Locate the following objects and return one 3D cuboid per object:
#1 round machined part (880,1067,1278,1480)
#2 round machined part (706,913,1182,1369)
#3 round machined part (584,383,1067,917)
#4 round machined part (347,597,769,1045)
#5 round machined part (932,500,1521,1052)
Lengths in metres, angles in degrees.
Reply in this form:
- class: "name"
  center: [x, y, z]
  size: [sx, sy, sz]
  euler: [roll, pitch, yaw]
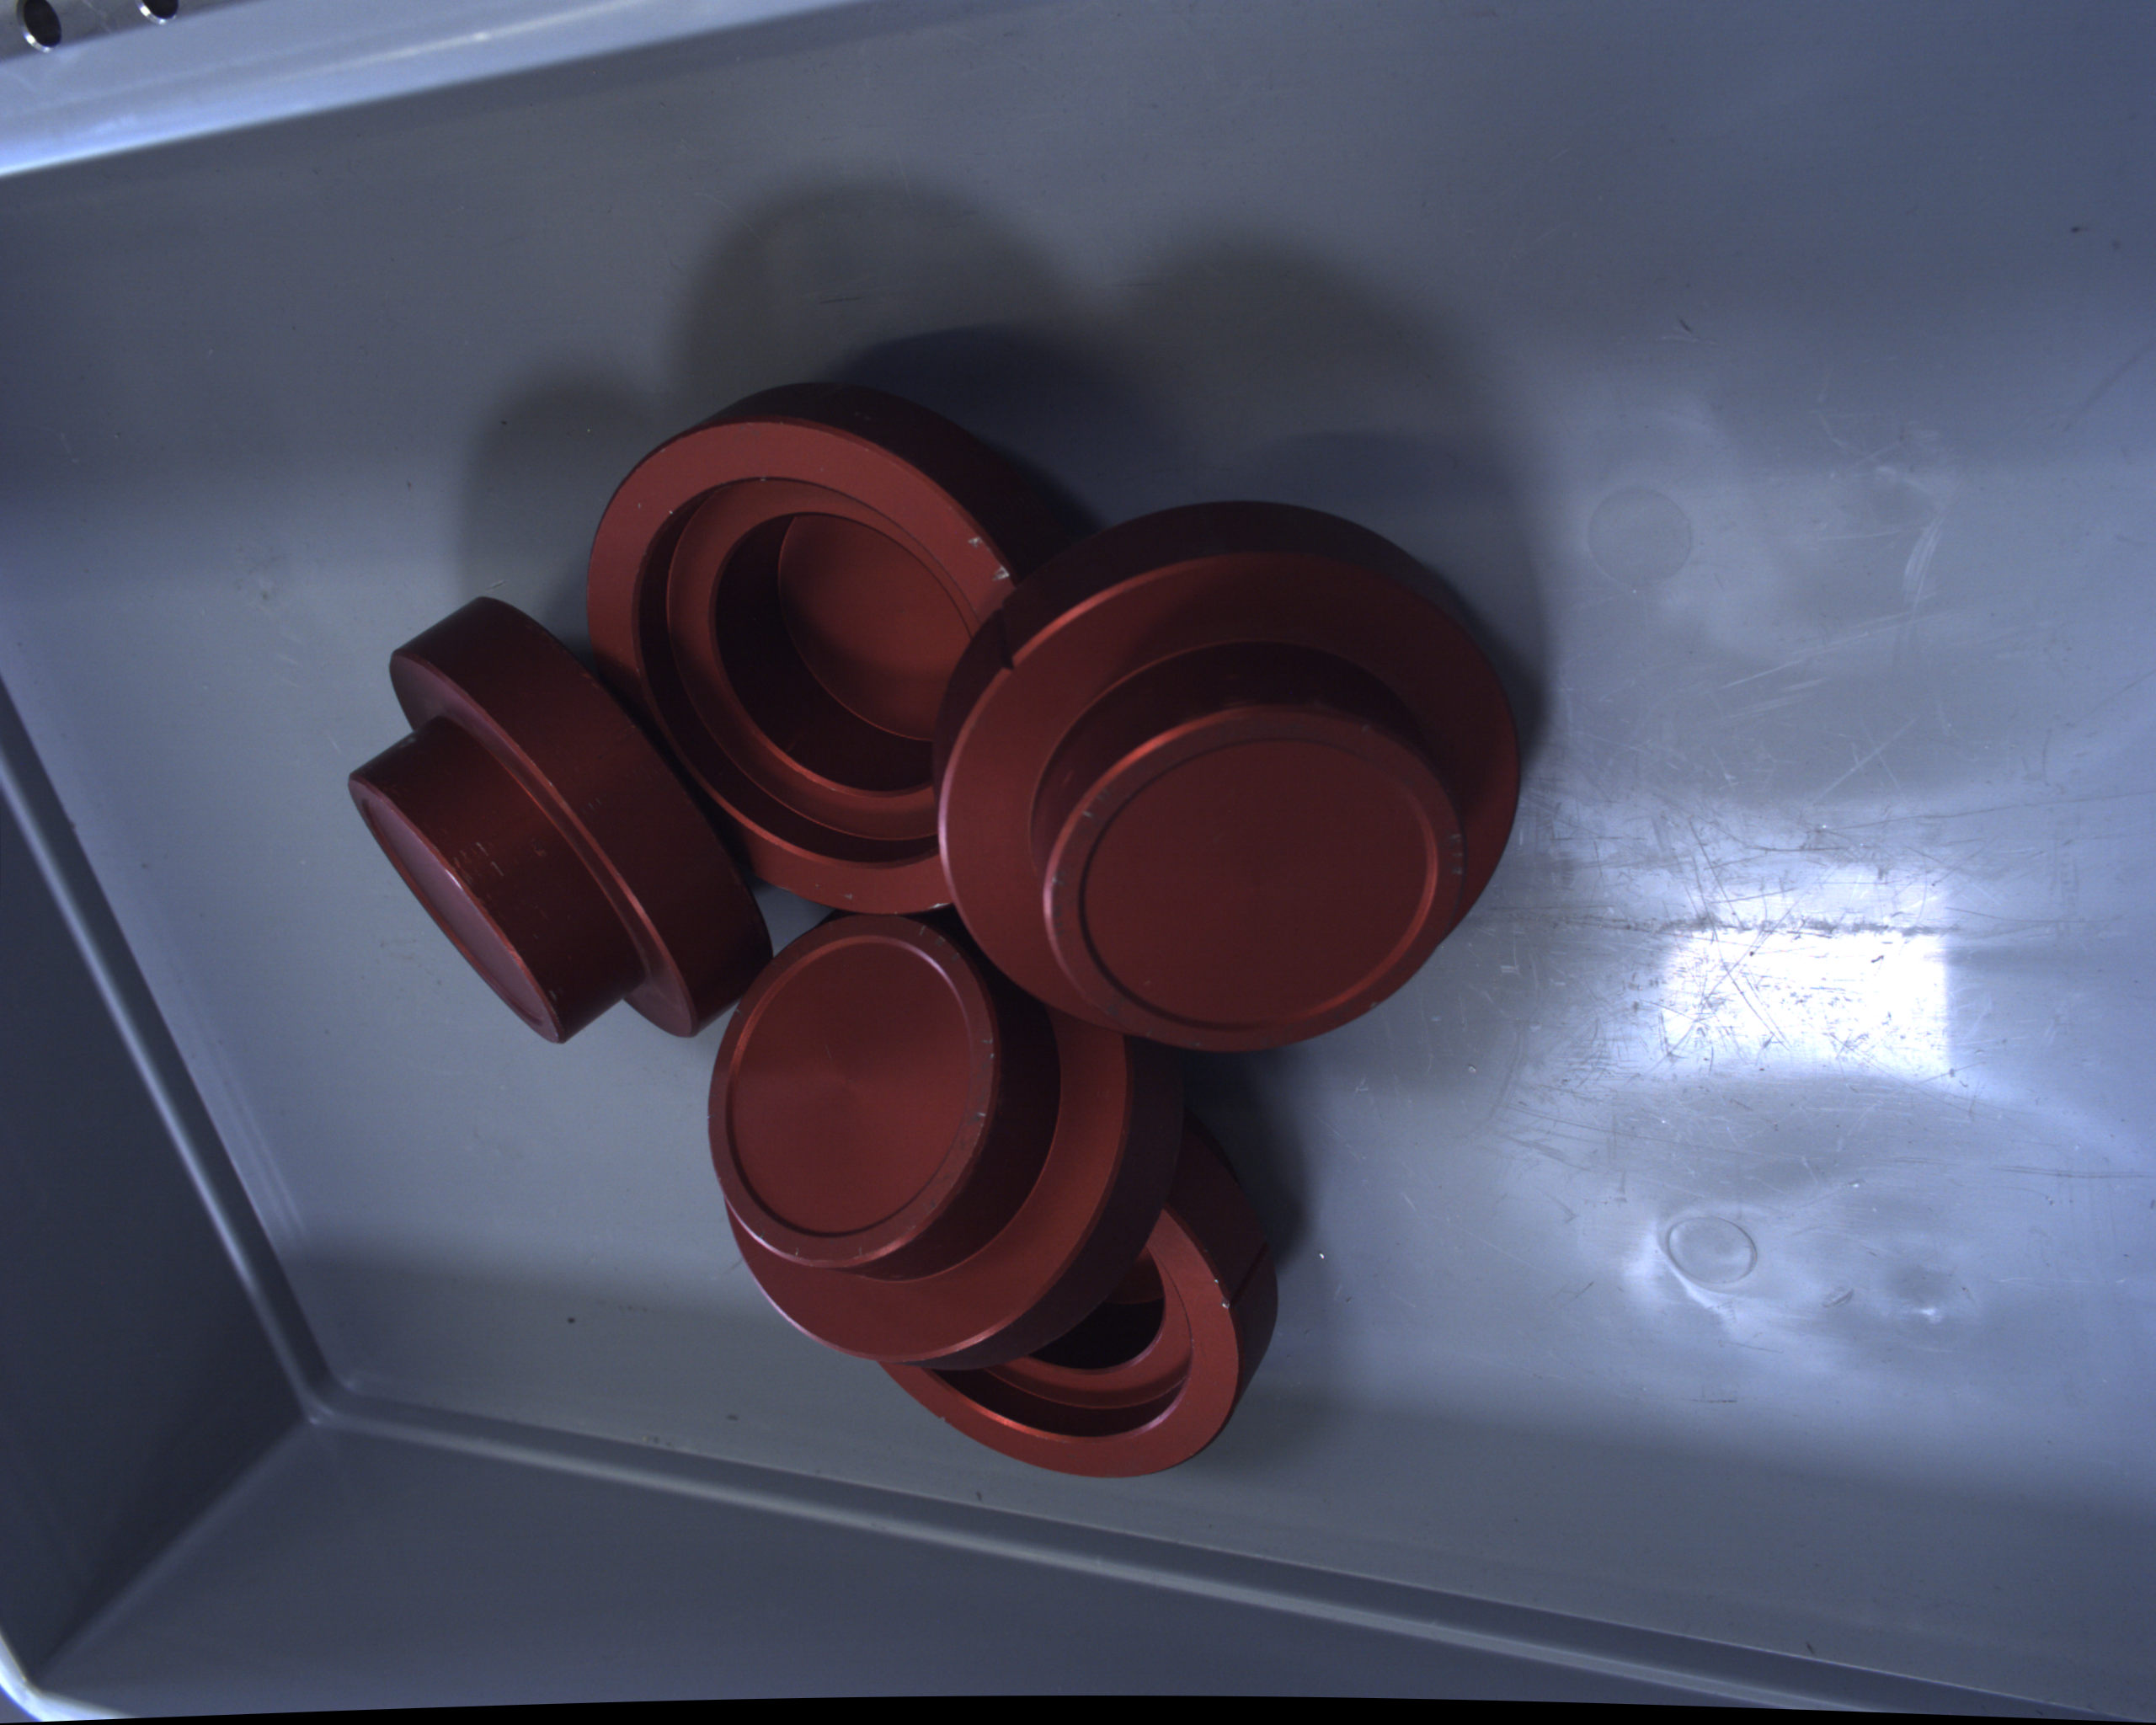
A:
- class: "round machined part"
  center: [-0.003, 0.081, 0.447]
  size: [0.098, 0.042, 0.097]
  euler: [13, 124, 21]
- class: "round machined part"
  center: [-0.033, 0.047, 0.405]
  size: [0.098, 0.098, 0.042]
  euler: [-6, 159, 31]
- class: "round machined part"
  center: [-0.039, -0.042, 0.389]
  size: [0.098, 0.042, 0.097]
  euler: [13, 124, 21]
- class: "round machined part"
  center: [-0.110, -0.002, 0.424]
  size: [0.098, 0.042, 0.098]
  euler: [41, 156, 23]
- class: "round machined part"
  center: [0.026, -0.007, 0.348]
  size: [0.099, 0.042, 0.097]
  euler: [-4, 125, -6]
